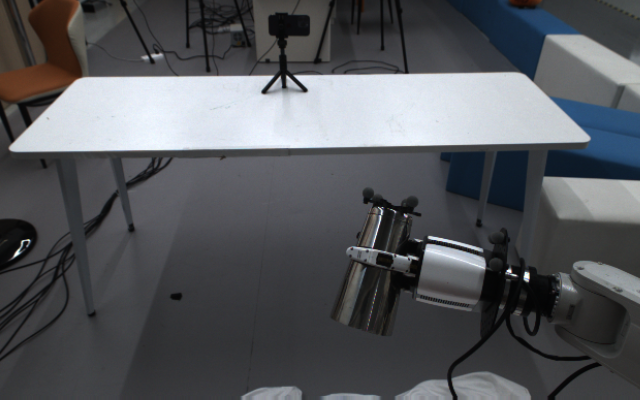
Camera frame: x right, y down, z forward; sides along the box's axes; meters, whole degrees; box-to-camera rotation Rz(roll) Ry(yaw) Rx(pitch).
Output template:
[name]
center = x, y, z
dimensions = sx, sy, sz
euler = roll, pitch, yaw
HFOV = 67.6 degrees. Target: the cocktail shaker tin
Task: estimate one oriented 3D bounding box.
[cocktail shaker tin]
center = 0.080, 0.099, 0.702
dimensions = 0.093, 0.170, 0.093
euler = 16, -7, 2
